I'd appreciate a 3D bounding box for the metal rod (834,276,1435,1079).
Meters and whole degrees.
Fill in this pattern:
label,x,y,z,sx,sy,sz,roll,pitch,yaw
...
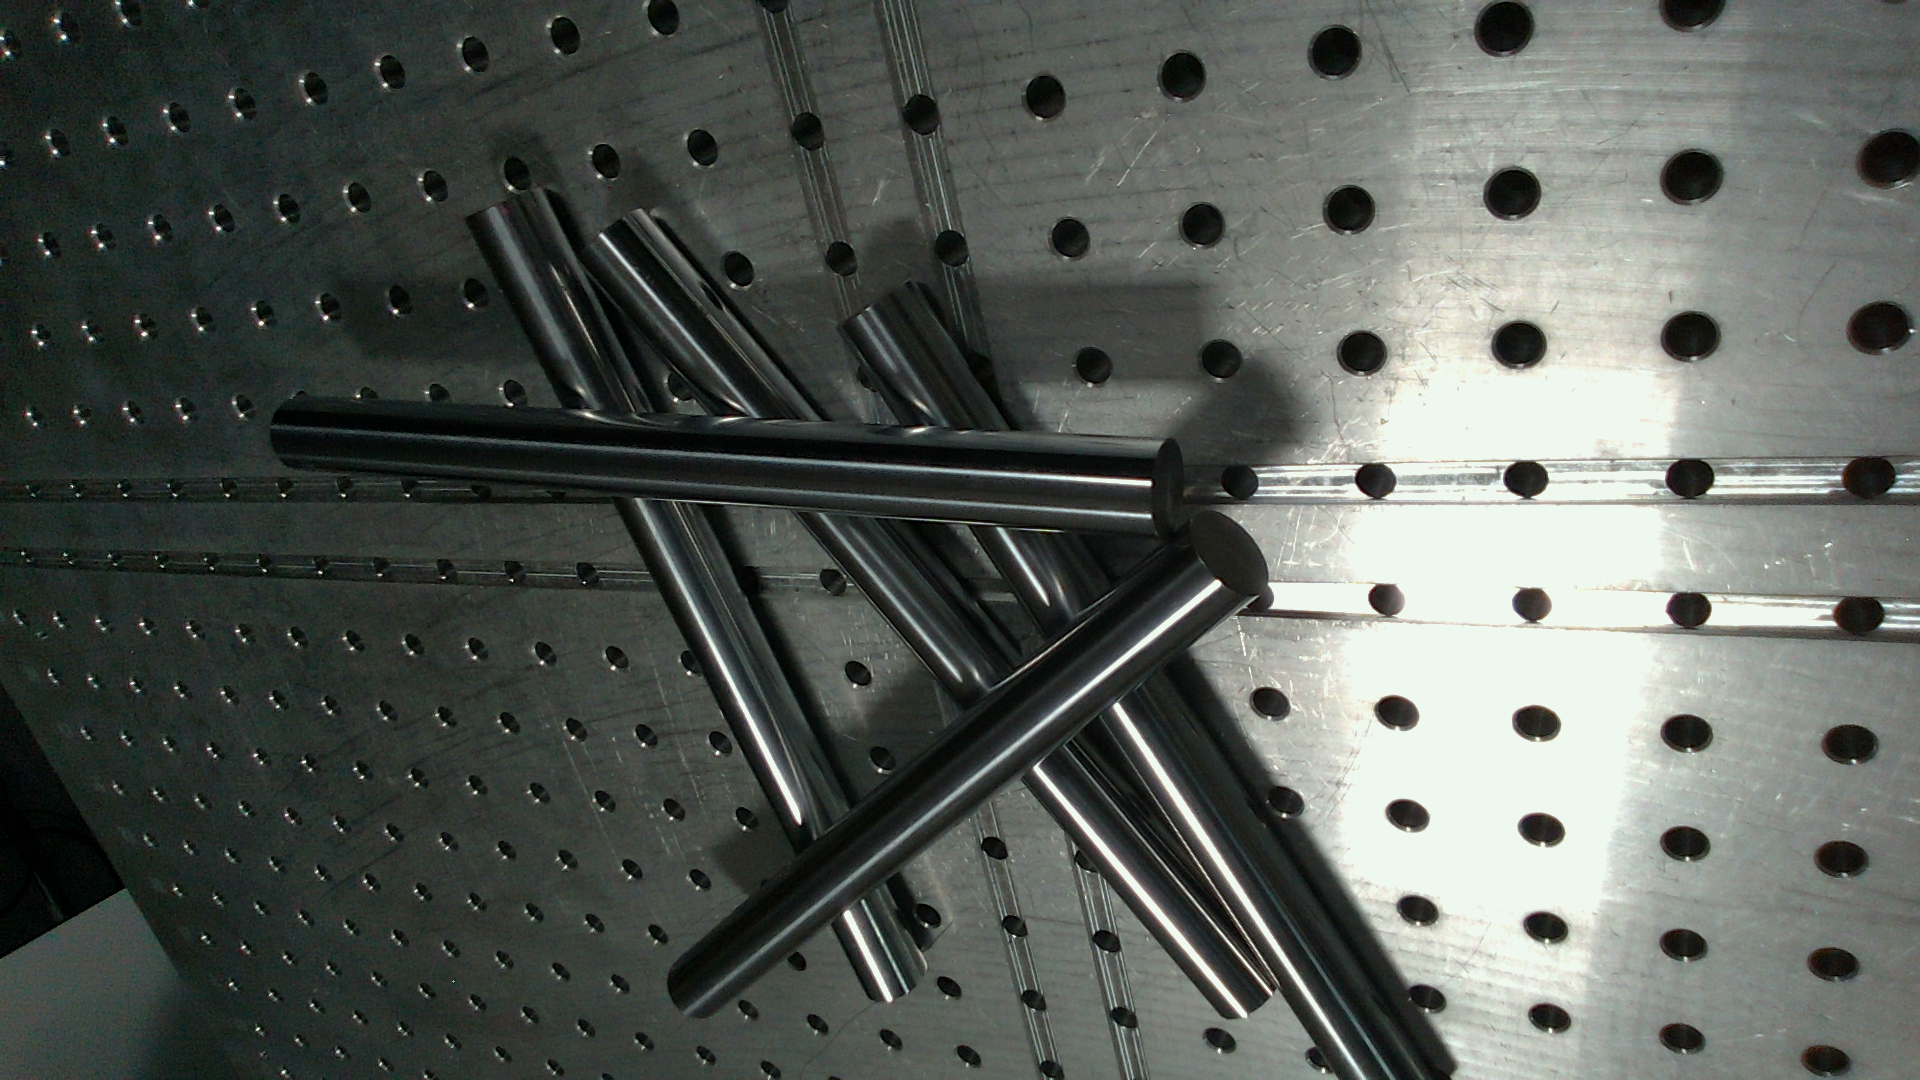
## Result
label,x,y,z,sx,sy,sz,roll,pitch,yaw
metal rod,0.059,0.058,0.400,0.025,0.025,0.300,-25,105,37

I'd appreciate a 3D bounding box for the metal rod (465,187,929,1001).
label,x,y,z,sx,sy,sz,roll,pitch,yaw
metal rod,-0.079,0.031,0.457,0.025,0.025,0.300,-10,113,33

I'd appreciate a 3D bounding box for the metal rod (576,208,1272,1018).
label,x,y,z,sx,sy,sz,roll,pitch,yaw
metal rod,-0.005,0.027,0.414,0.025,0.025,0.300,-34,99,38

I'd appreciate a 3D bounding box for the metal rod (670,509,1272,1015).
label,x,y,z,sx,sy,sz,roll,pitch,yaw
metal rod,-0.016,0.085,0.424,0.025,0.025,0.299,43,129,-2

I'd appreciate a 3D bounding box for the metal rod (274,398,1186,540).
label,x,y,z,sx,sy,sz,roll,pitch,yaw
metal rod,-0.084,-0.024,0.394,0.299,0.025,0.025,5,121,26
